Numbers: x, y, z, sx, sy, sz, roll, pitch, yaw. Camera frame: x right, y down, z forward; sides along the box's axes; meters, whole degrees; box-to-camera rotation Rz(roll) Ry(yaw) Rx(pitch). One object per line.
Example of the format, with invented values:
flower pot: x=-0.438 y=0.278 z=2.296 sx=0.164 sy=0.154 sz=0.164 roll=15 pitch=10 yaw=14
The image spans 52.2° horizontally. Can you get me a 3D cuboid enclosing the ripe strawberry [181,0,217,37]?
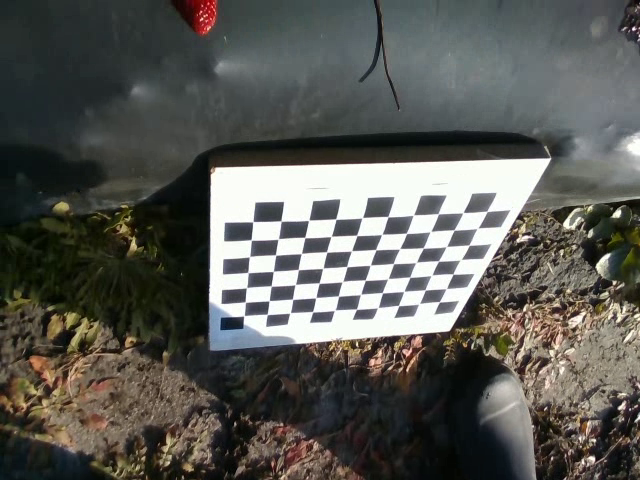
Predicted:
ripe strawberry: x=-0.060 y=-0.122 z=0.342 sx=0.028 sy=0.041 sz=0.031 roll=-18 pitch=-6 yaw=7
